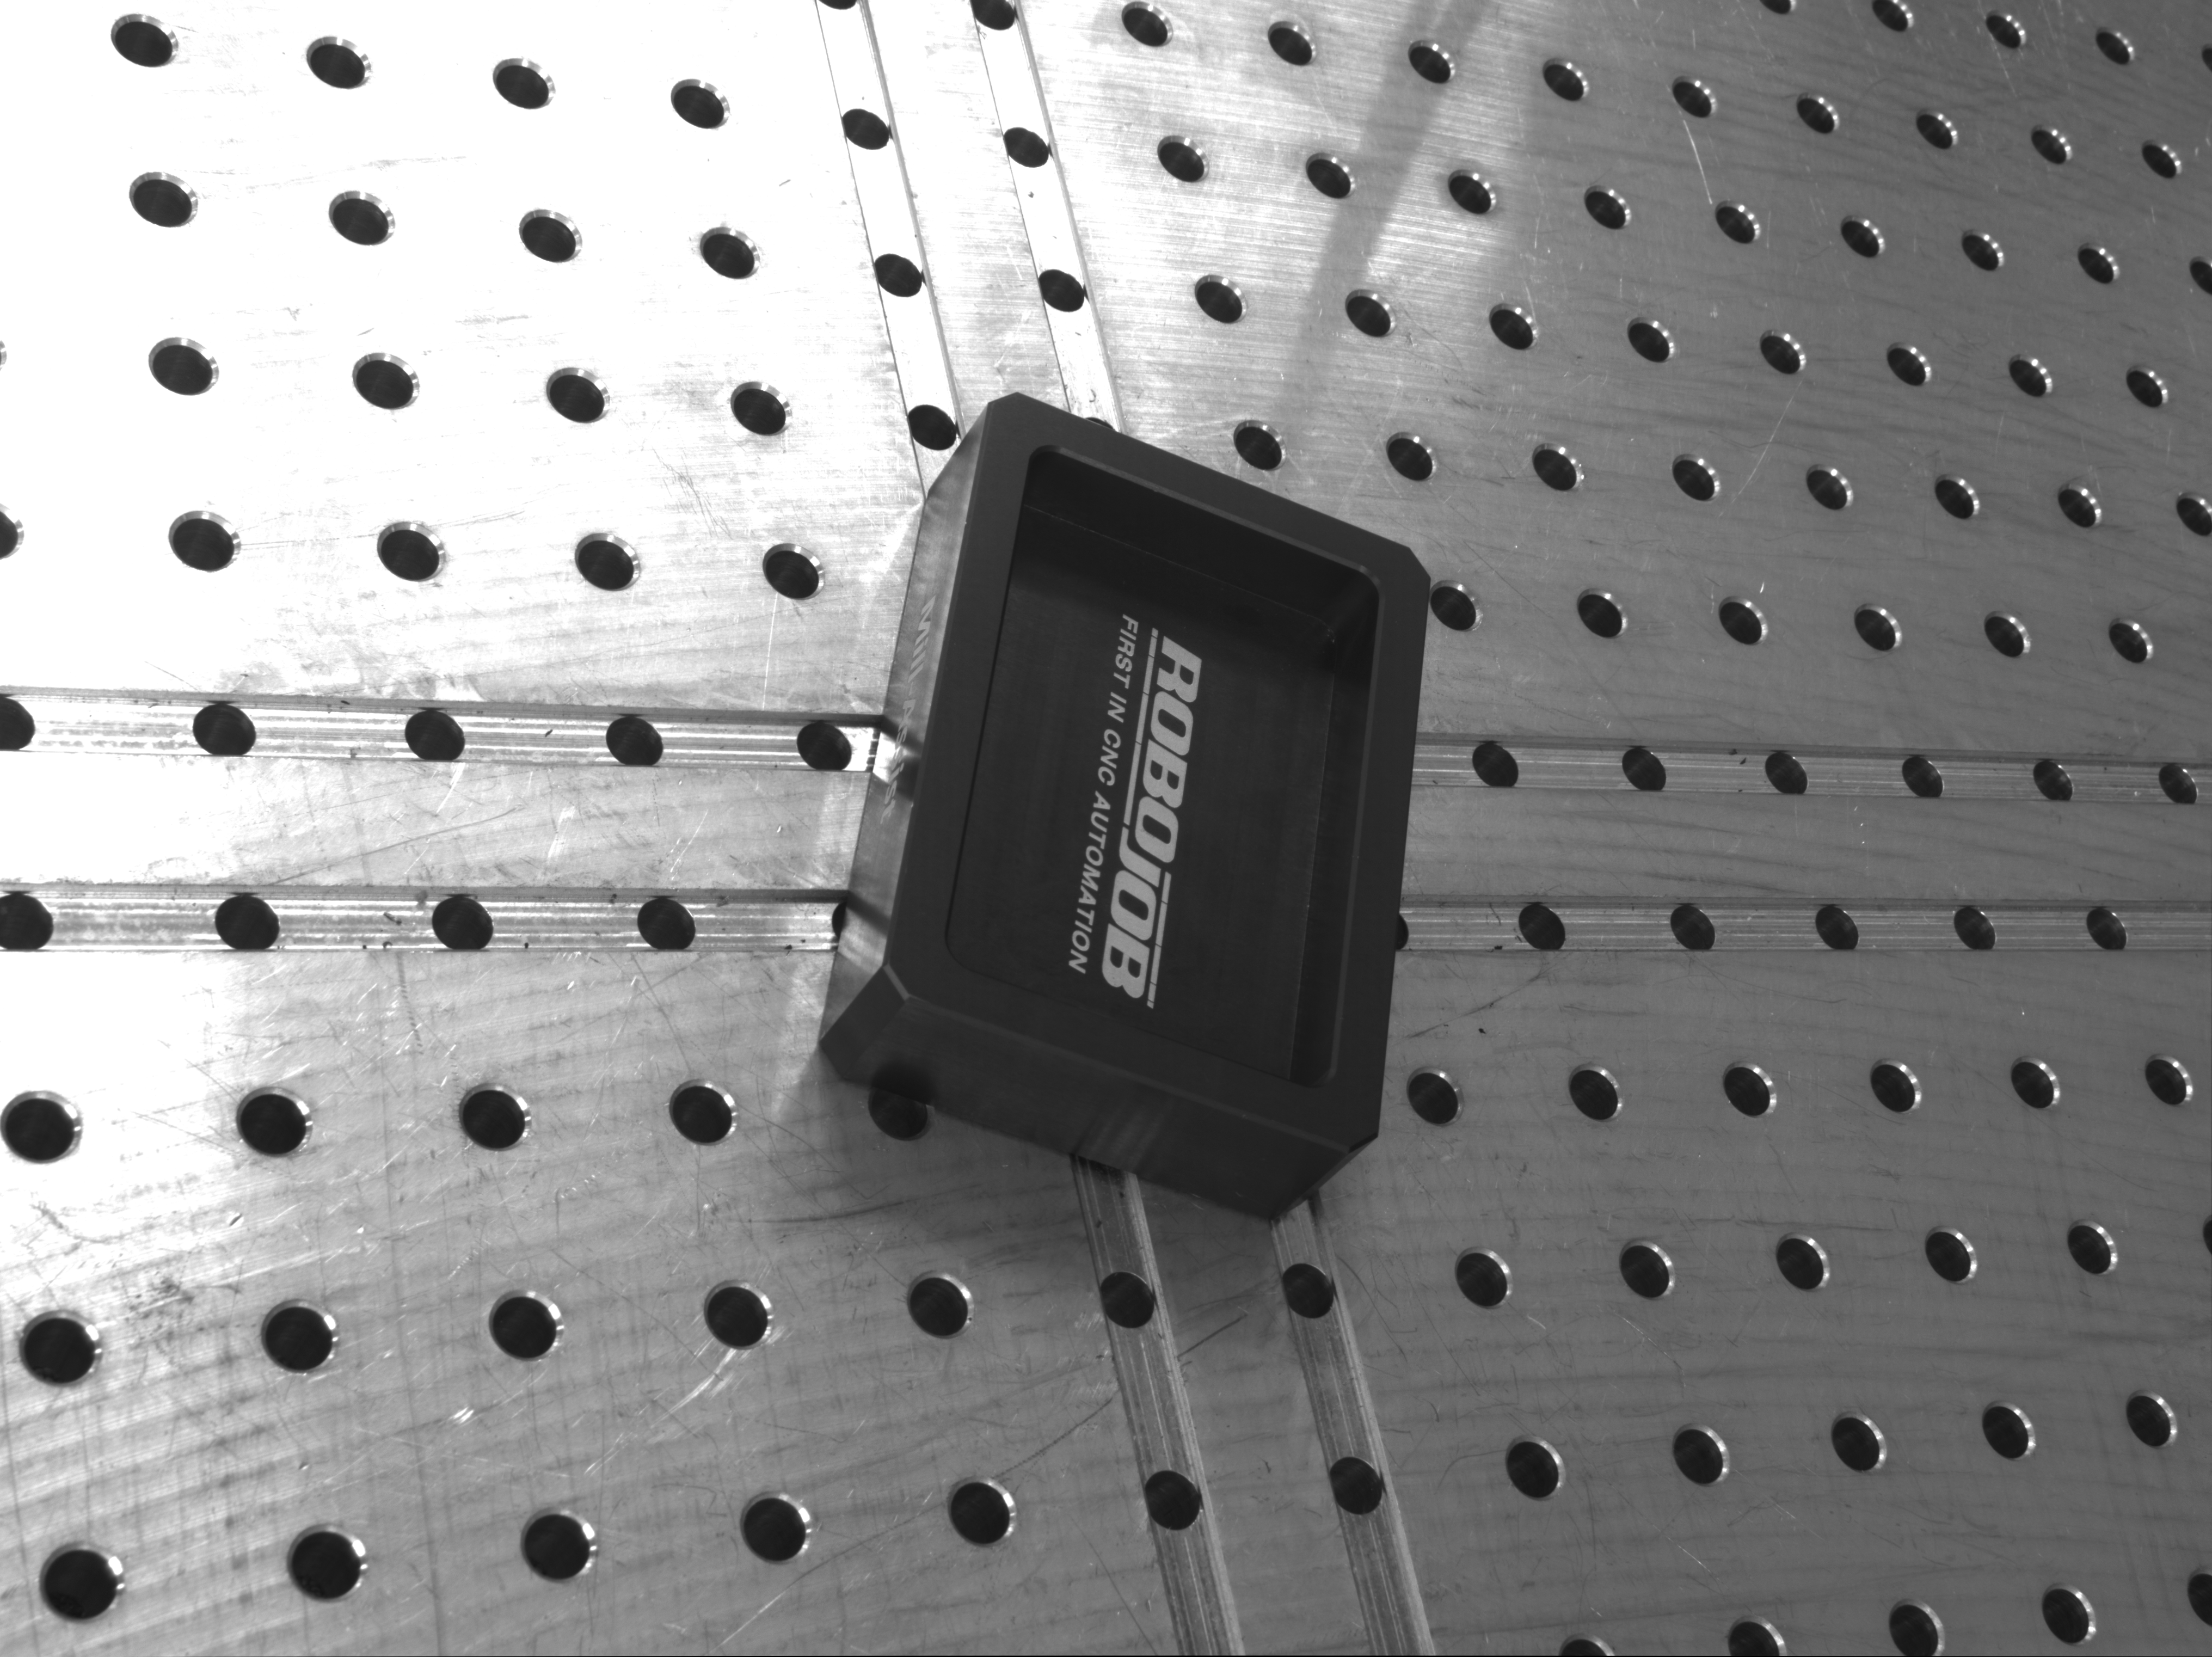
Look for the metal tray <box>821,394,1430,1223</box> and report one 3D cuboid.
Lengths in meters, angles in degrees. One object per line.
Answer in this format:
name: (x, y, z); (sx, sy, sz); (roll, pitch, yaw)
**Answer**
metal tray: (0.006, -0.005, 0.645); (0.090, 0.030, 0.130); (20, 54, -17)
